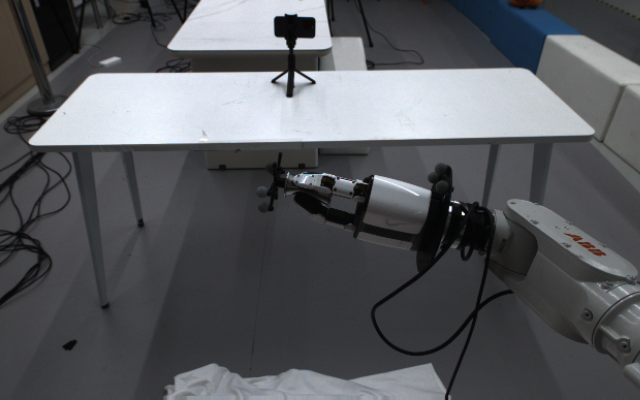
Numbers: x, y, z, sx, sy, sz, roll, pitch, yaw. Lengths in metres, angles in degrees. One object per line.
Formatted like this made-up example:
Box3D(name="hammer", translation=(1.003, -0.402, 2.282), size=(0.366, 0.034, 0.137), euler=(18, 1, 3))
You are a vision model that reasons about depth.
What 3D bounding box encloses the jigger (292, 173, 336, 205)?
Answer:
Box3D(name="jigger", translation=(-0.009, -0.022, 0.706), size=(0.071, 0.043, 0.043), euler=(11, 35, 3))
